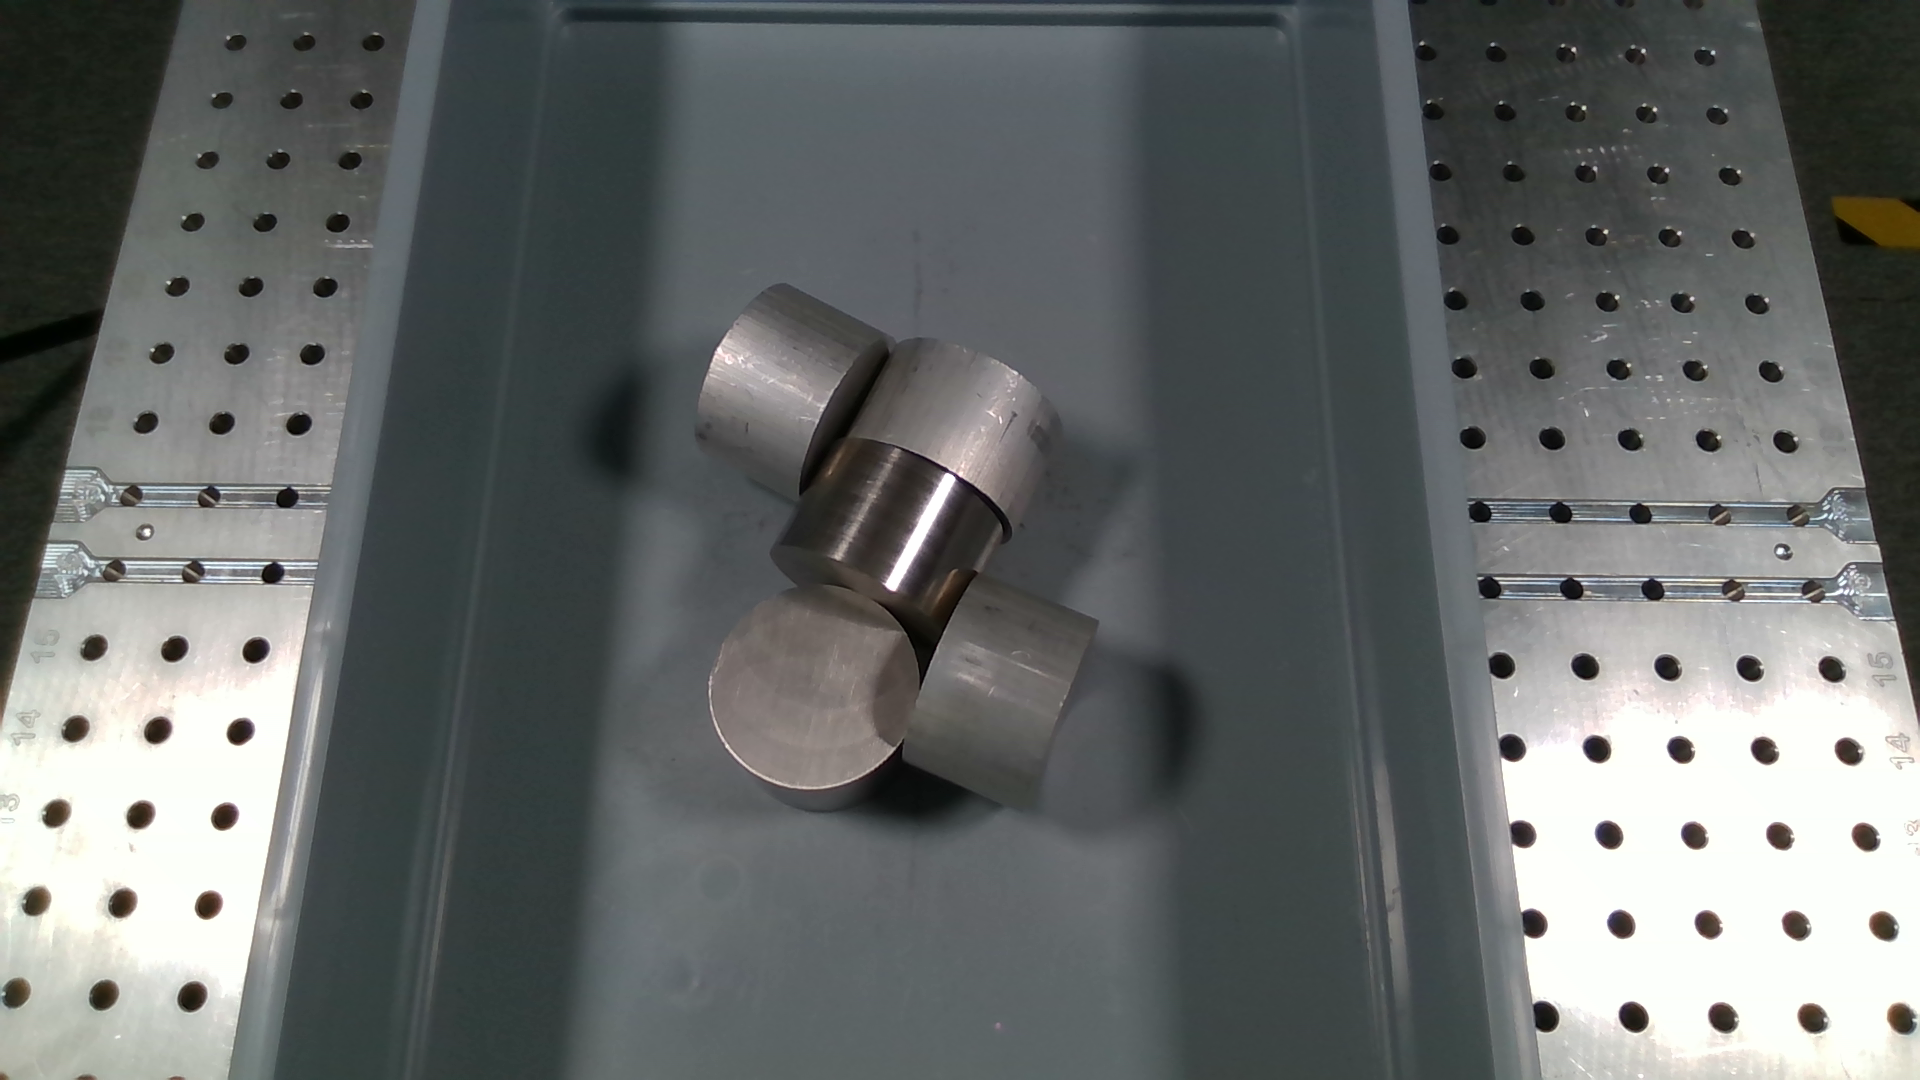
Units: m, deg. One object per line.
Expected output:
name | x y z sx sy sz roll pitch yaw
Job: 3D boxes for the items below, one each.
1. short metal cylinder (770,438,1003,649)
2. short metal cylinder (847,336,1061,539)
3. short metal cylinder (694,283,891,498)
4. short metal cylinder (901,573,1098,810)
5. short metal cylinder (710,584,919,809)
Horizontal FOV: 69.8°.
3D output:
short metal cylinder | -0.029 0.003 0.557 0.080 0.080 0.050 25 72 9
short metal cylinder | -0.004 -0.040 0.572 0.080 0.080 0.050 24 72 8
short metal cylinder | -0.068 -0.061 0.579 0.050 0.080 0.080 28 73 10
short metal cylinder | 0.016 0.058 0.537 0.050 0.080 0.080 22 72 8
short metal cylinder | -0.056 0.063 0.551 0.080 0.050 0.080 0 70 0
